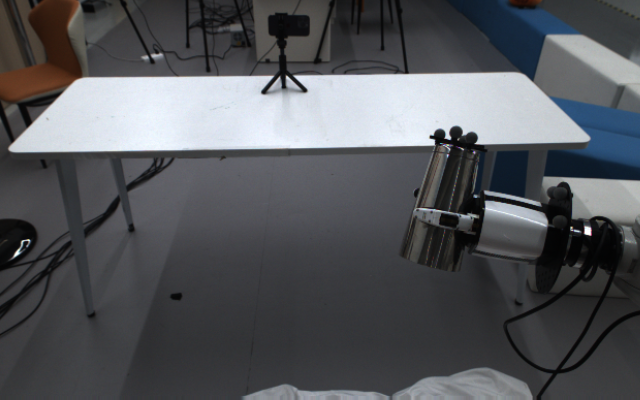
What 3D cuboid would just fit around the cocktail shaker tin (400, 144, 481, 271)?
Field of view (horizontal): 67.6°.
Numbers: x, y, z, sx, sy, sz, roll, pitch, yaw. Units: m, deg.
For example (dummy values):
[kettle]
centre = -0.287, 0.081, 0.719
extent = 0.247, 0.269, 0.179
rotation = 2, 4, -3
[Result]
[cocktail shaker tin]
centre = 0.181, 0.008, 0.709
extent = 0.093, 0.170, 0.093
rotation = 13, 4, -1
